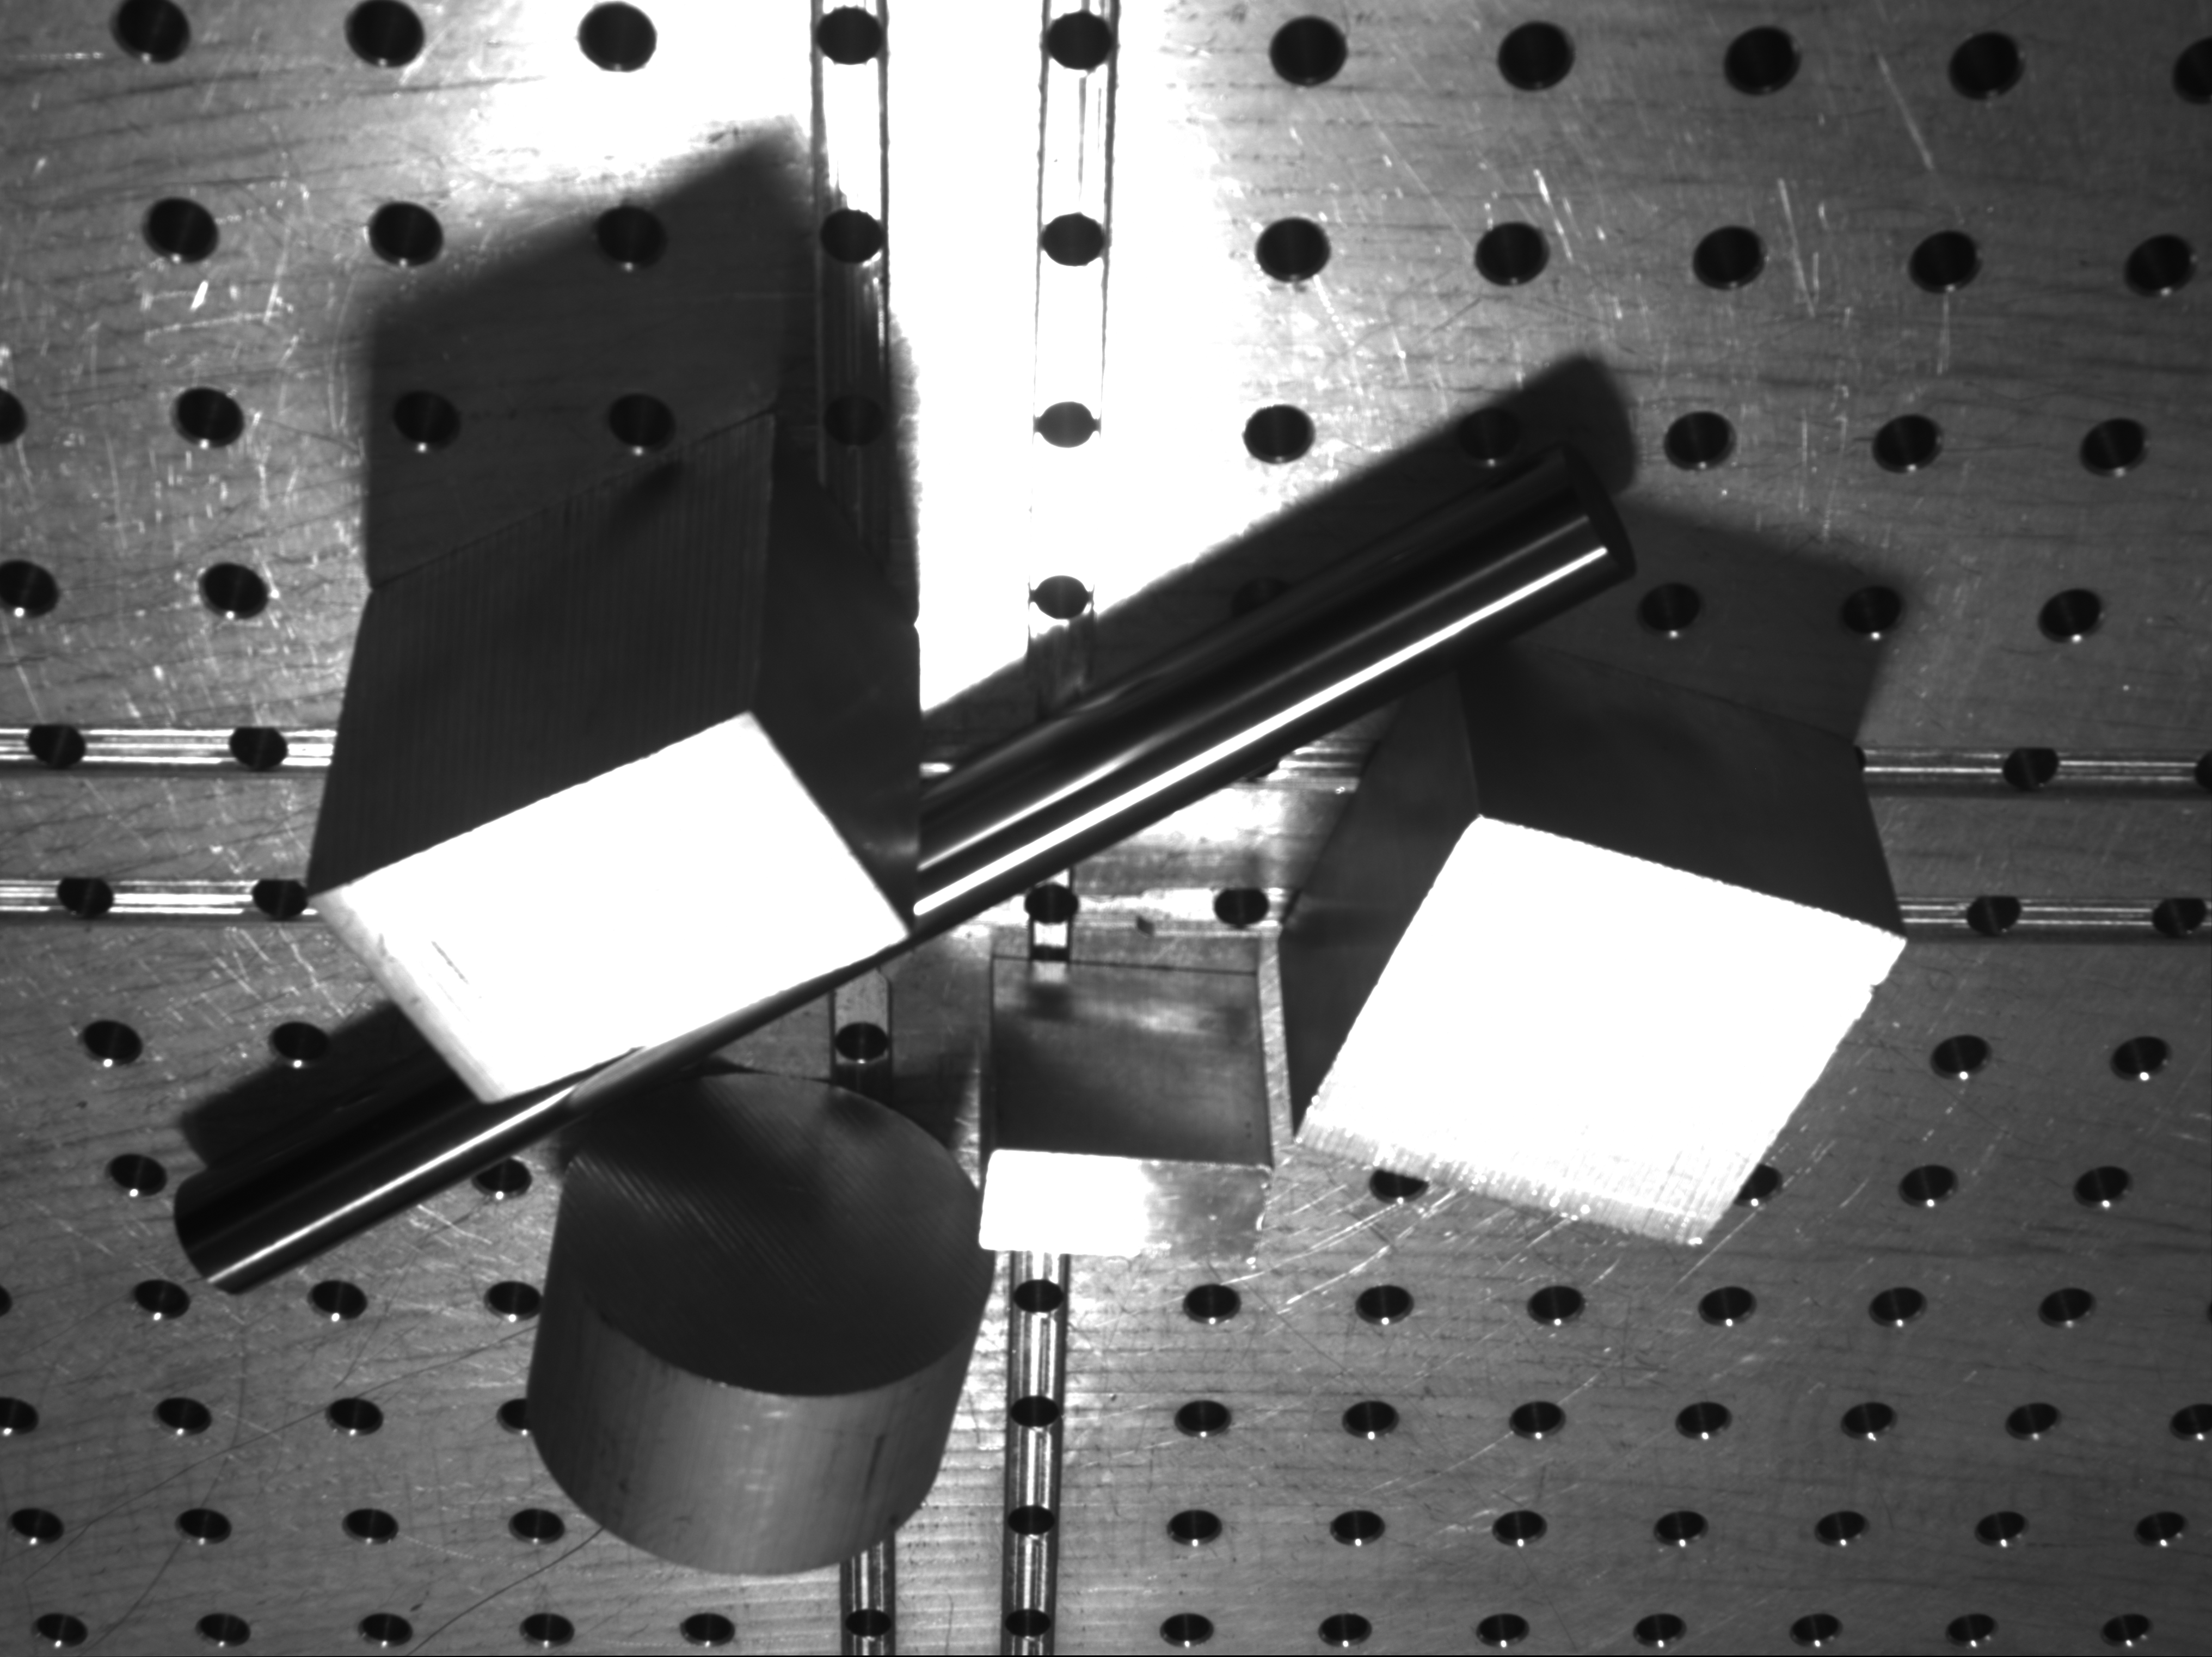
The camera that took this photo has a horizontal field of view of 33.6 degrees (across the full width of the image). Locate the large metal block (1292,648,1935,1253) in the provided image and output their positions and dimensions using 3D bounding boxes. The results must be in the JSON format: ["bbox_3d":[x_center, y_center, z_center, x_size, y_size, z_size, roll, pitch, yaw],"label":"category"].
[{"bbox_3d":[0.086,0.021,0.642,0.080,0.050,0.080,15,128,-14],"label":"large metal block"}]

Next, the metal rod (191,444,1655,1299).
[{"bbox_3d":[-0.041,0.013,0.650,0.300,0.025,0.025,-28,125,20],"label":"metal rod"}]

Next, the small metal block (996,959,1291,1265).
[{"bbox_3d":[0.006,0.051,0.669,0.050,0.050,0.025,4,130,-5],"label":"small metal block"}]

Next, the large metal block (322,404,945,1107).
[{"bbox_3d":[-0.074,-0.012,0.594,0.080,0.080,0.050,-22,127,16],"label":"large metal block"}]

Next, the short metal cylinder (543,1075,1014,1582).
[{"bbox_3d":[-0.061,0.092,0.680,0.080,0.080,0.050,9,129,-9],"label":"short metal cylinder"}]
